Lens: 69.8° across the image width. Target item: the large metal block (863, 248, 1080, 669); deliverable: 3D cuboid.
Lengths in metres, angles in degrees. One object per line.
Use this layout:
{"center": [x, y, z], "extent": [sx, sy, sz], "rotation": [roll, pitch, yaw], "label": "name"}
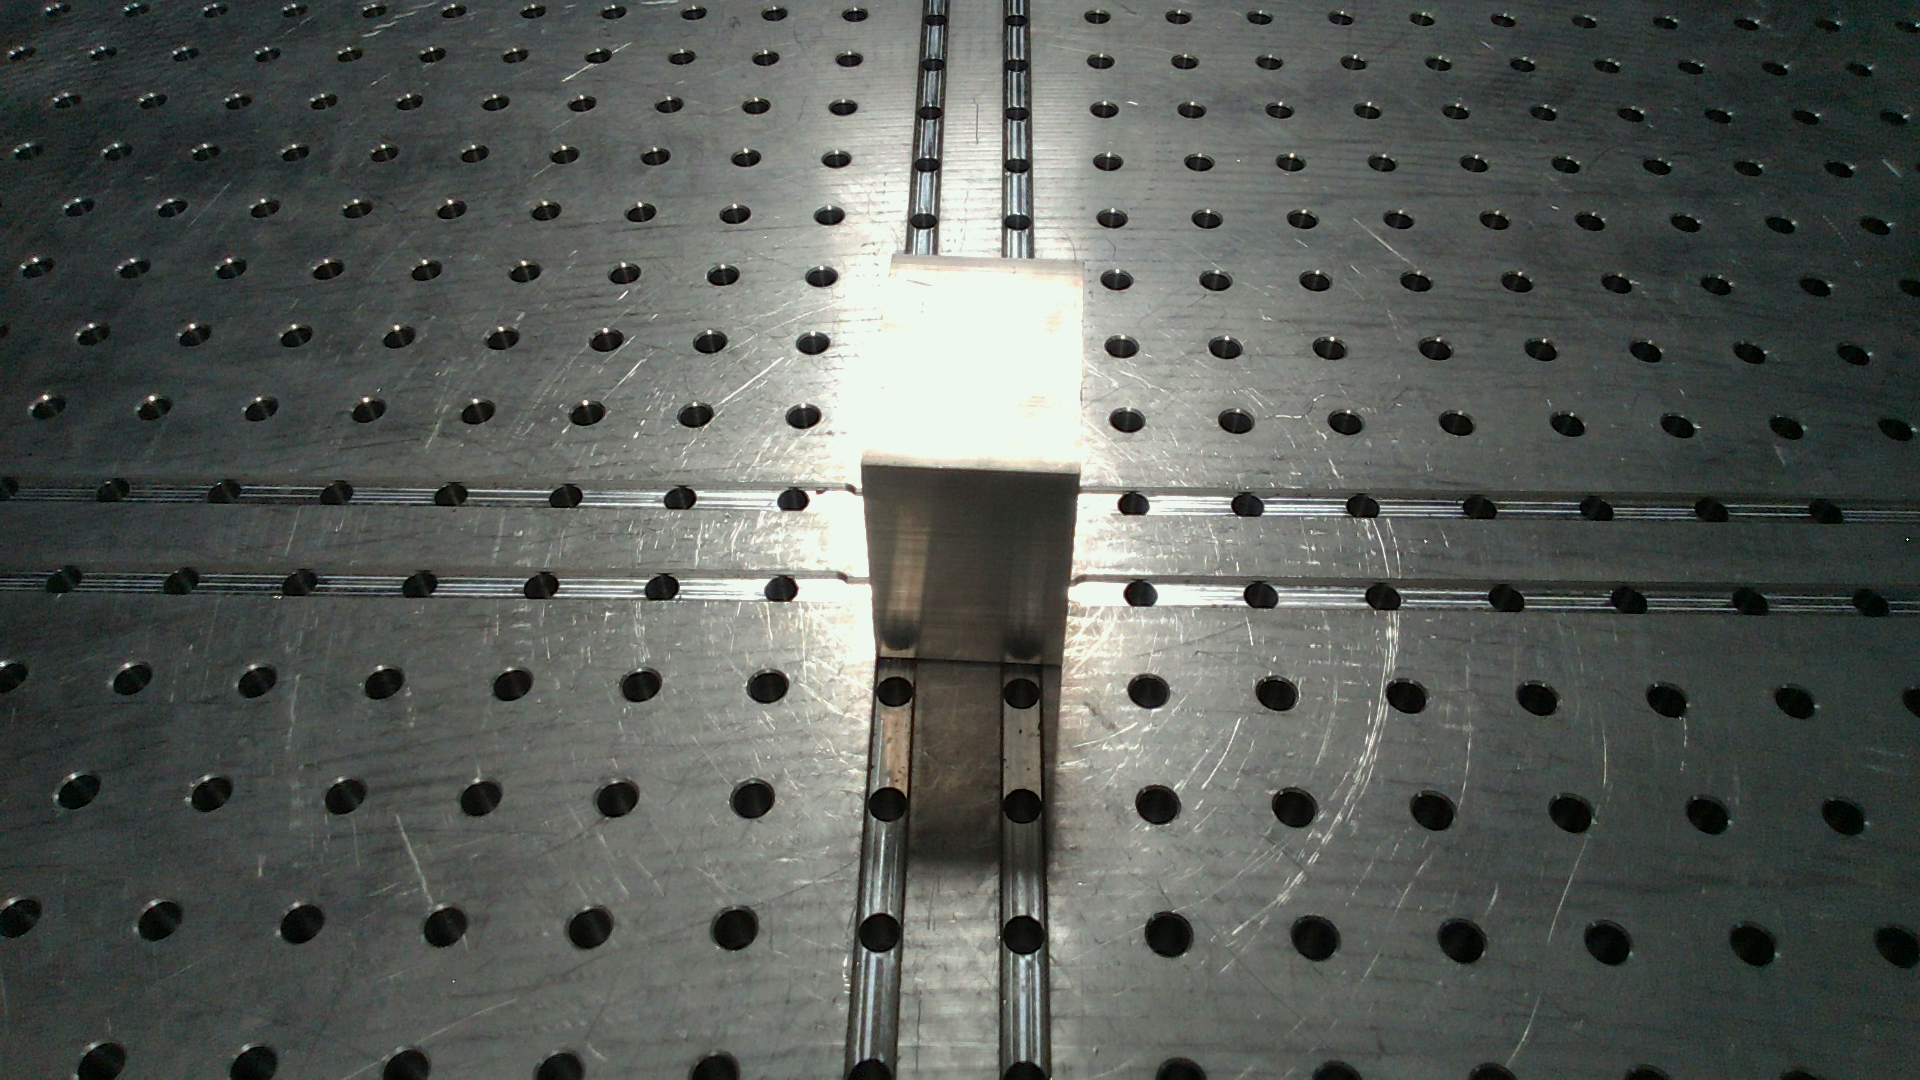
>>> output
{"center": [0.005, -0.022, 0.376], "extent": [0.050, 0.080, 0.080], "rotation": [3, 50, 2], "label": "large metal block"}
